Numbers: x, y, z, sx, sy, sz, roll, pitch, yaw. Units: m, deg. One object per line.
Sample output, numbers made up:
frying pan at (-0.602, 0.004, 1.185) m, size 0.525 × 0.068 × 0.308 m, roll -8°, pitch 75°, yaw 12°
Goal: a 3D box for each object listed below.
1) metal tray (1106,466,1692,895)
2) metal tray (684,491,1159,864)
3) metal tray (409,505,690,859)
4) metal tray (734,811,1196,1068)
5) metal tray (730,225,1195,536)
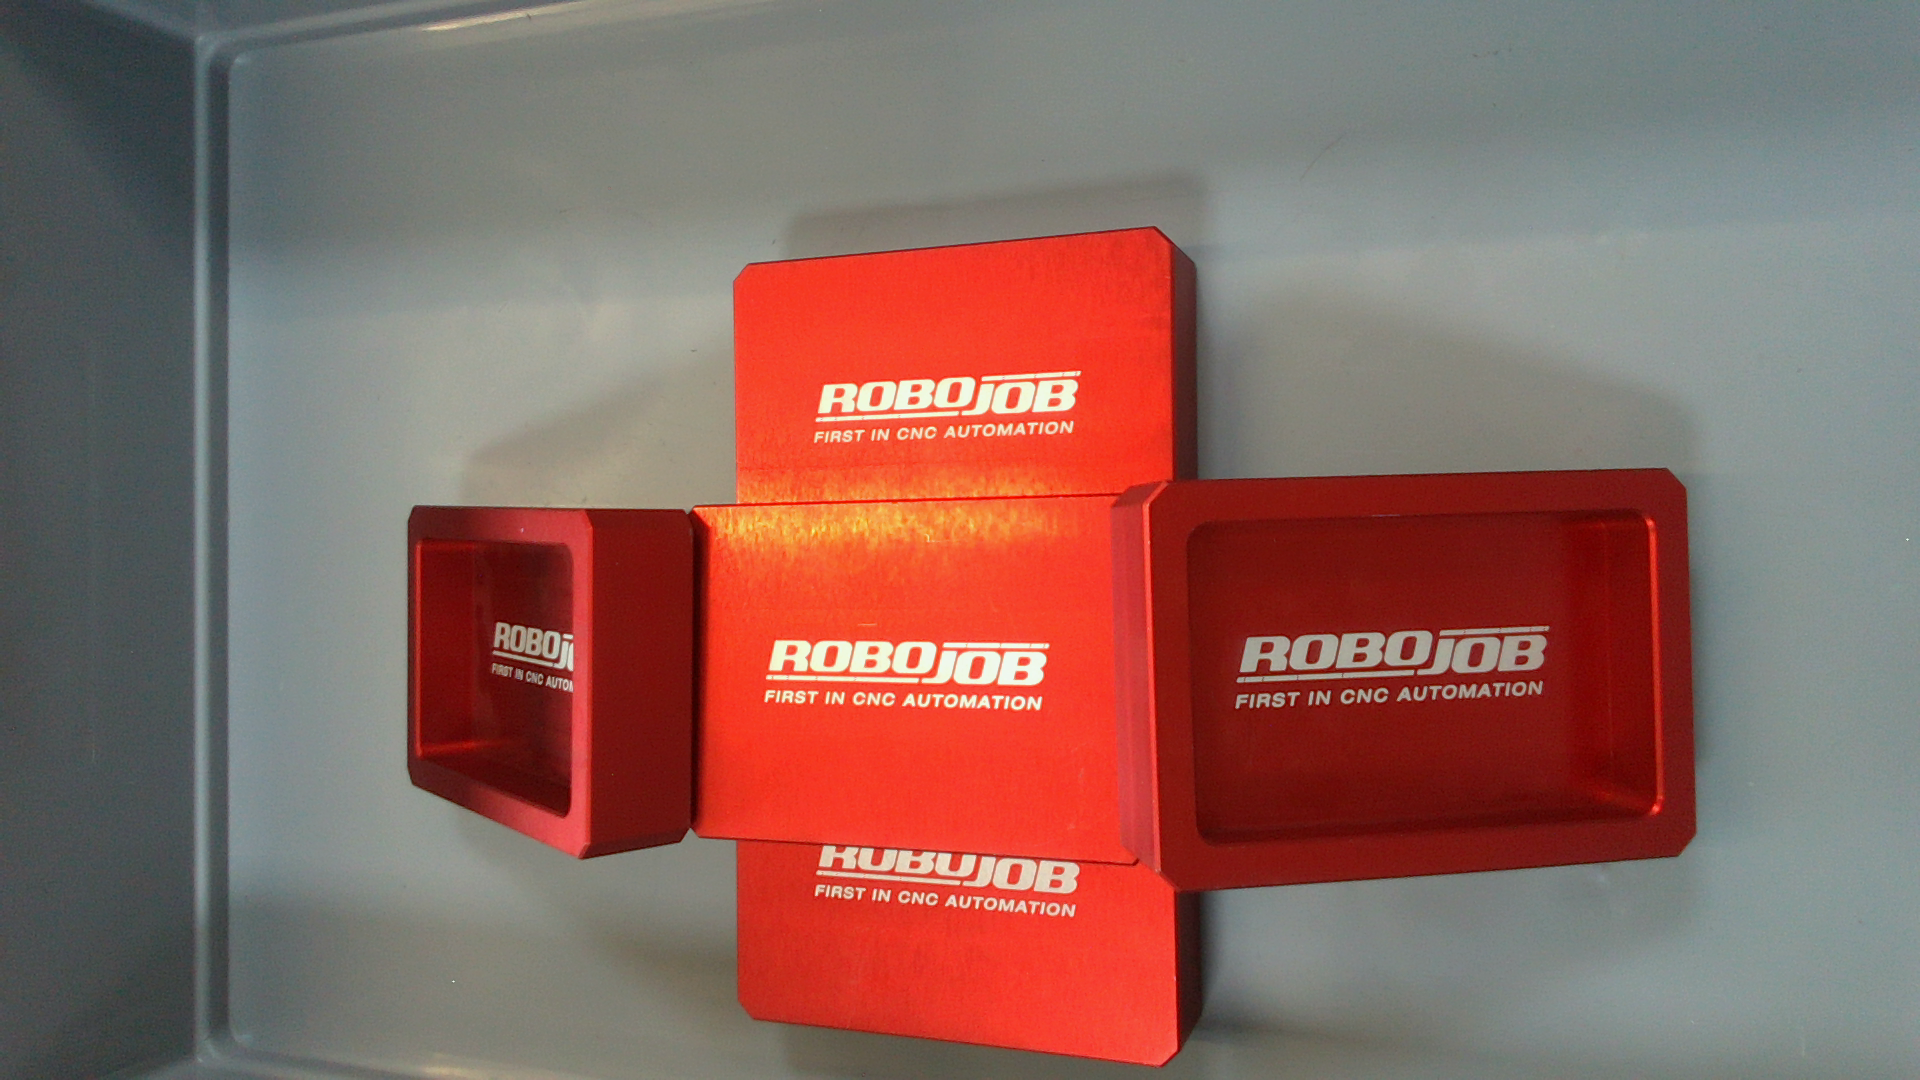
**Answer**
metal tray at (0.102, 0.030, 0.322) m, size 0.130 × 0.030 × 0.090 m, roll -2°, pitch 90°, yaw -10°
metal tray at (-0.010, 0.034, 0.364) m, size 0.130 × 0.030 × 0.090 m, roll -1°, pitch 90°, yaw 20°
metal tray at (-0.125, 0.035, 0.405) m, size 0.129 × 0.030 × 0.090 m, roll 2°, pitch 92°, yaw 49°
metal tray at (0.000, 0.093, 0.391) m, size 0.130 × 0.030 × 0.090 m, roll -1°, pitch 90°, yaw 20°
metal tray at (-0.001, -0.036, 0.391) m, size 0.130 × 0.030 × 0.090 m, roll -1°, pitch 90°, yaw 20°
